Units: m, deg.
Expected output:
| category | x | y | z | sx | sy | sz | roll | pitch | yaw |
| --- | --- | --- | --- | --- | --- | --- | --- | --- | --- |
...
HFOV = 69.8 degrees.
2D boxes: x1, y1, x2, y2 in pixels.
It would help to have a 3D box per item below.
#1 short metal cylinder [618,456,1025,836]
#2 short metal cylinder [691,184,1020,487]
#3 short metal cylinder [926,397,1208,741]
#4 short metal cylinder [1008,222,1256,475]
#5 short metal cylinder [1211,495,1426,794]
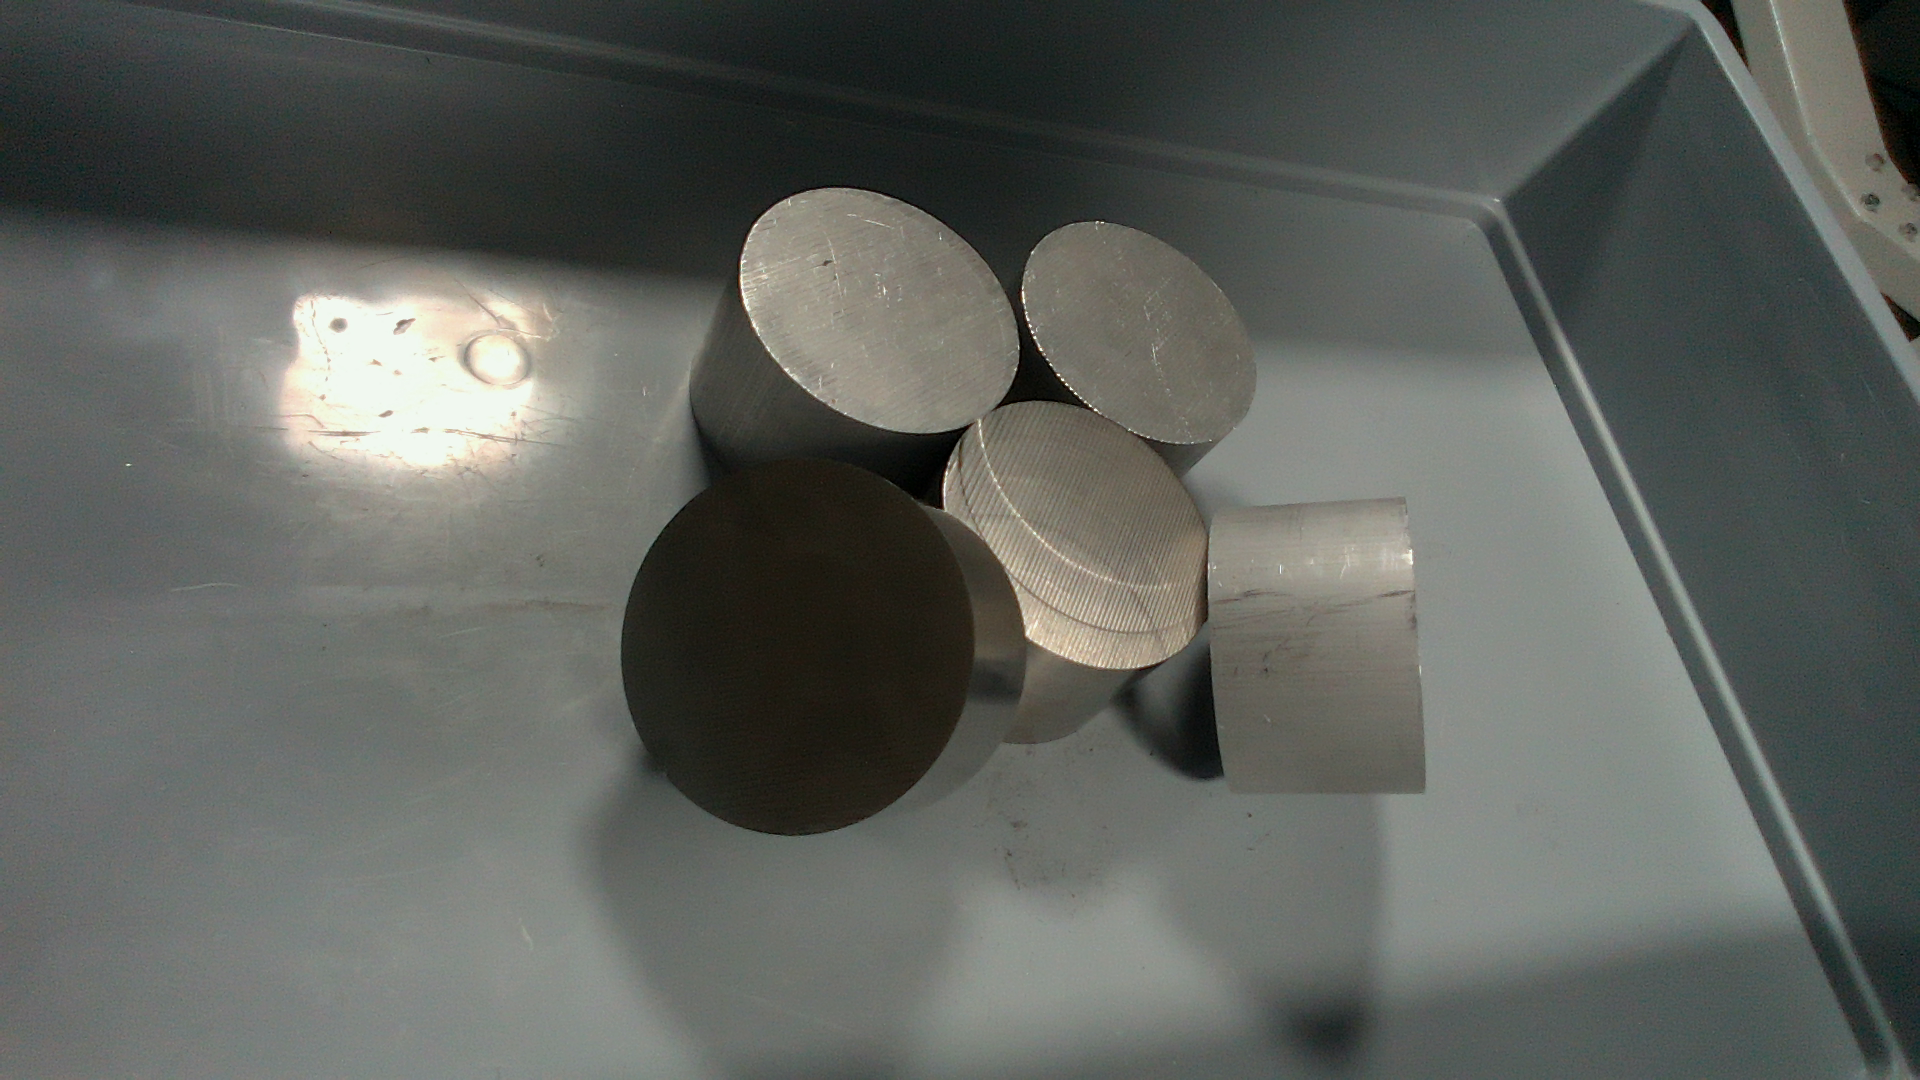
| category | x | y | z | sx | sy | sz | roll | pitch | yaw |
| --- | --- | --- | --- | --- | --- | --- | --- | --- | --- |
| short metal cylinder | -0.030 | 0.025 | 0.315 | 0.080 | 0.080 | 0.050 | 59 | 9 | 14 |
| short metal cylinder | -0.030 | -0.052 | 0.386 | 0.080 | 0.050 | 0.080 | 14 | 56 | -21 |
| short metal cylinder | 0.023 | 0.008 | 0.377 | 0.080 | 0.050 | 0.080 | 14 | 56 | -21 |
| short metal cylinder | 0.044 | -0.051 | 0.427 | 0.080 | 0.050 | 0.080 | 14 | 56 | -21 |
| short metal cylinder | 0.099 | 0.029 | 0.380 | 0.050 | 0.080 | 0.080 | -4 | 55 | 15 |
